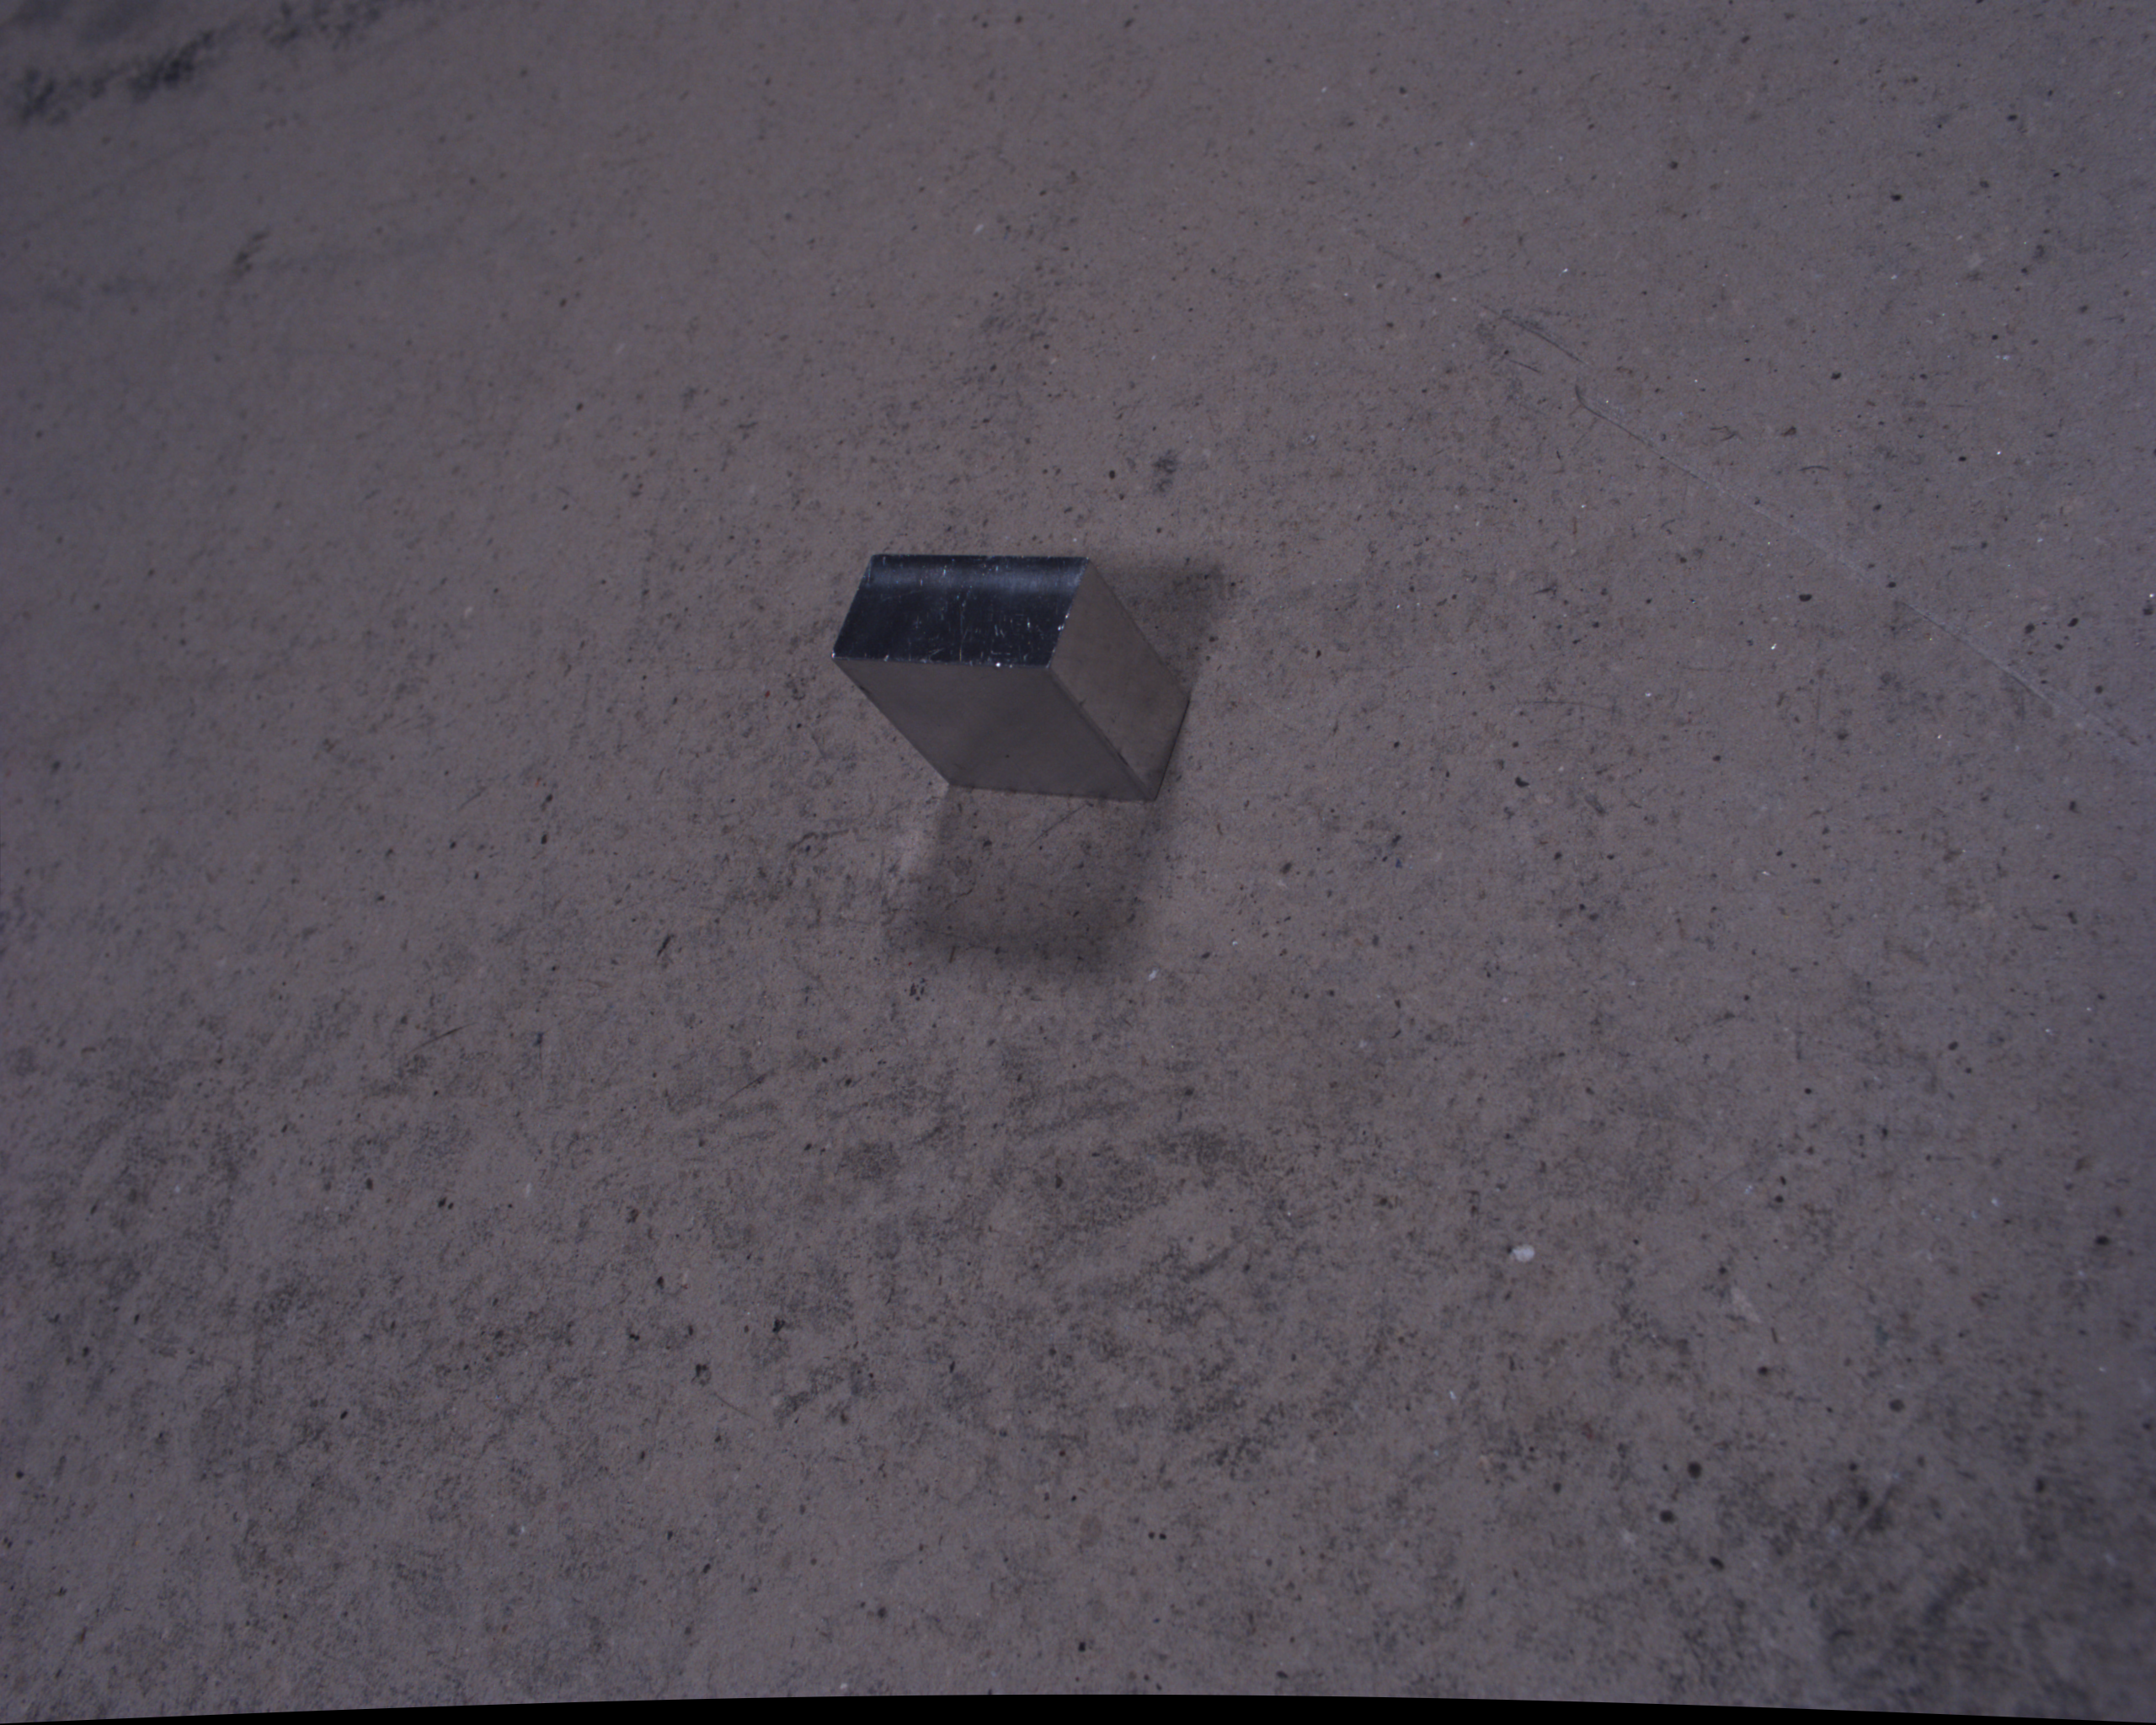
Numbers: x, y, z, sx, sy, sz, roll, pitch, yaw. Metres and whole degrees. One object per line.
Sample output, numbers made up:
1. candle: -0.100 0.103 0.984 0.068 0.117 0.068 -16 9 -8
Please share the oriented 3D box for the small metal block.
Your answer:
1. small metal block: -0.013 -0.037 0.417 0.050 0.050 0.025 6 65 30
